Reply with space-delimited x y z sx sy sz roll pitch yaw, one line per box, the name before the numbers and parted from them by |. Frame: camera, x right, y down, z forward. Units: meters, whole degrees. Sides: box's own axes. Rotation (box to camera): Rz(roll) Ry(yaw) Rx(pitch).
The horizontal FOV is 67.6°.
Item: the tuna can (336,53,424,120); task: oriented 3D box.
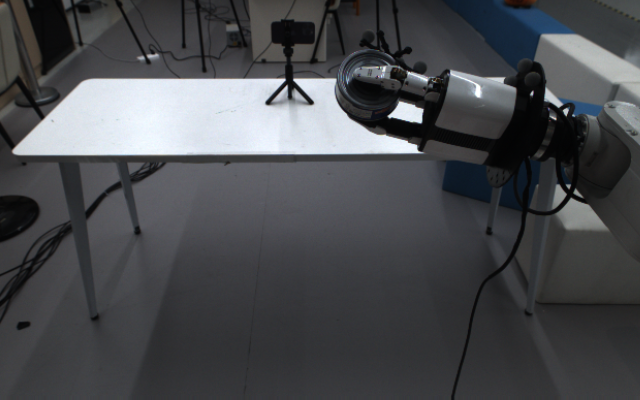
tuna can | 0.067 -0.139 0.611 0.085 0.034 0.085 0 74 0
